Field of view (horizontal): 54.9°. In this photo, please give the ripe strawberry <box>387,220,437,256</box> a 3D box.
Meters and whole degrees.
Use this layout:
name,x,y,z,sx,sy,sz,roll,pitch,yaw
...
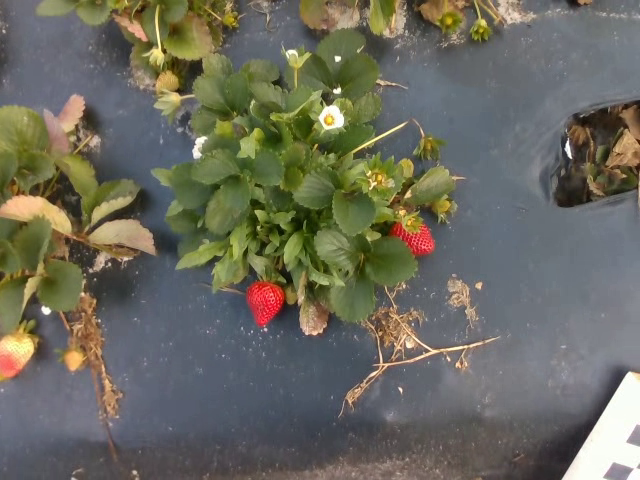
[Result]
name,x,y,z,sx,sy,sz,roll,pitch,yaw
ripe strawberry,0.092,0.000,0.600,0.046,0.043,0.046,27,18,28

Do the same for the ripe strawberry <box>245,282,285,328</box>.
name,x,y,z,sx,sy,sz,roll,pitch,yaw
ripe strawberry,-0.057,0.064,0.612,0.043,0.051,0.042,4,-10,3
